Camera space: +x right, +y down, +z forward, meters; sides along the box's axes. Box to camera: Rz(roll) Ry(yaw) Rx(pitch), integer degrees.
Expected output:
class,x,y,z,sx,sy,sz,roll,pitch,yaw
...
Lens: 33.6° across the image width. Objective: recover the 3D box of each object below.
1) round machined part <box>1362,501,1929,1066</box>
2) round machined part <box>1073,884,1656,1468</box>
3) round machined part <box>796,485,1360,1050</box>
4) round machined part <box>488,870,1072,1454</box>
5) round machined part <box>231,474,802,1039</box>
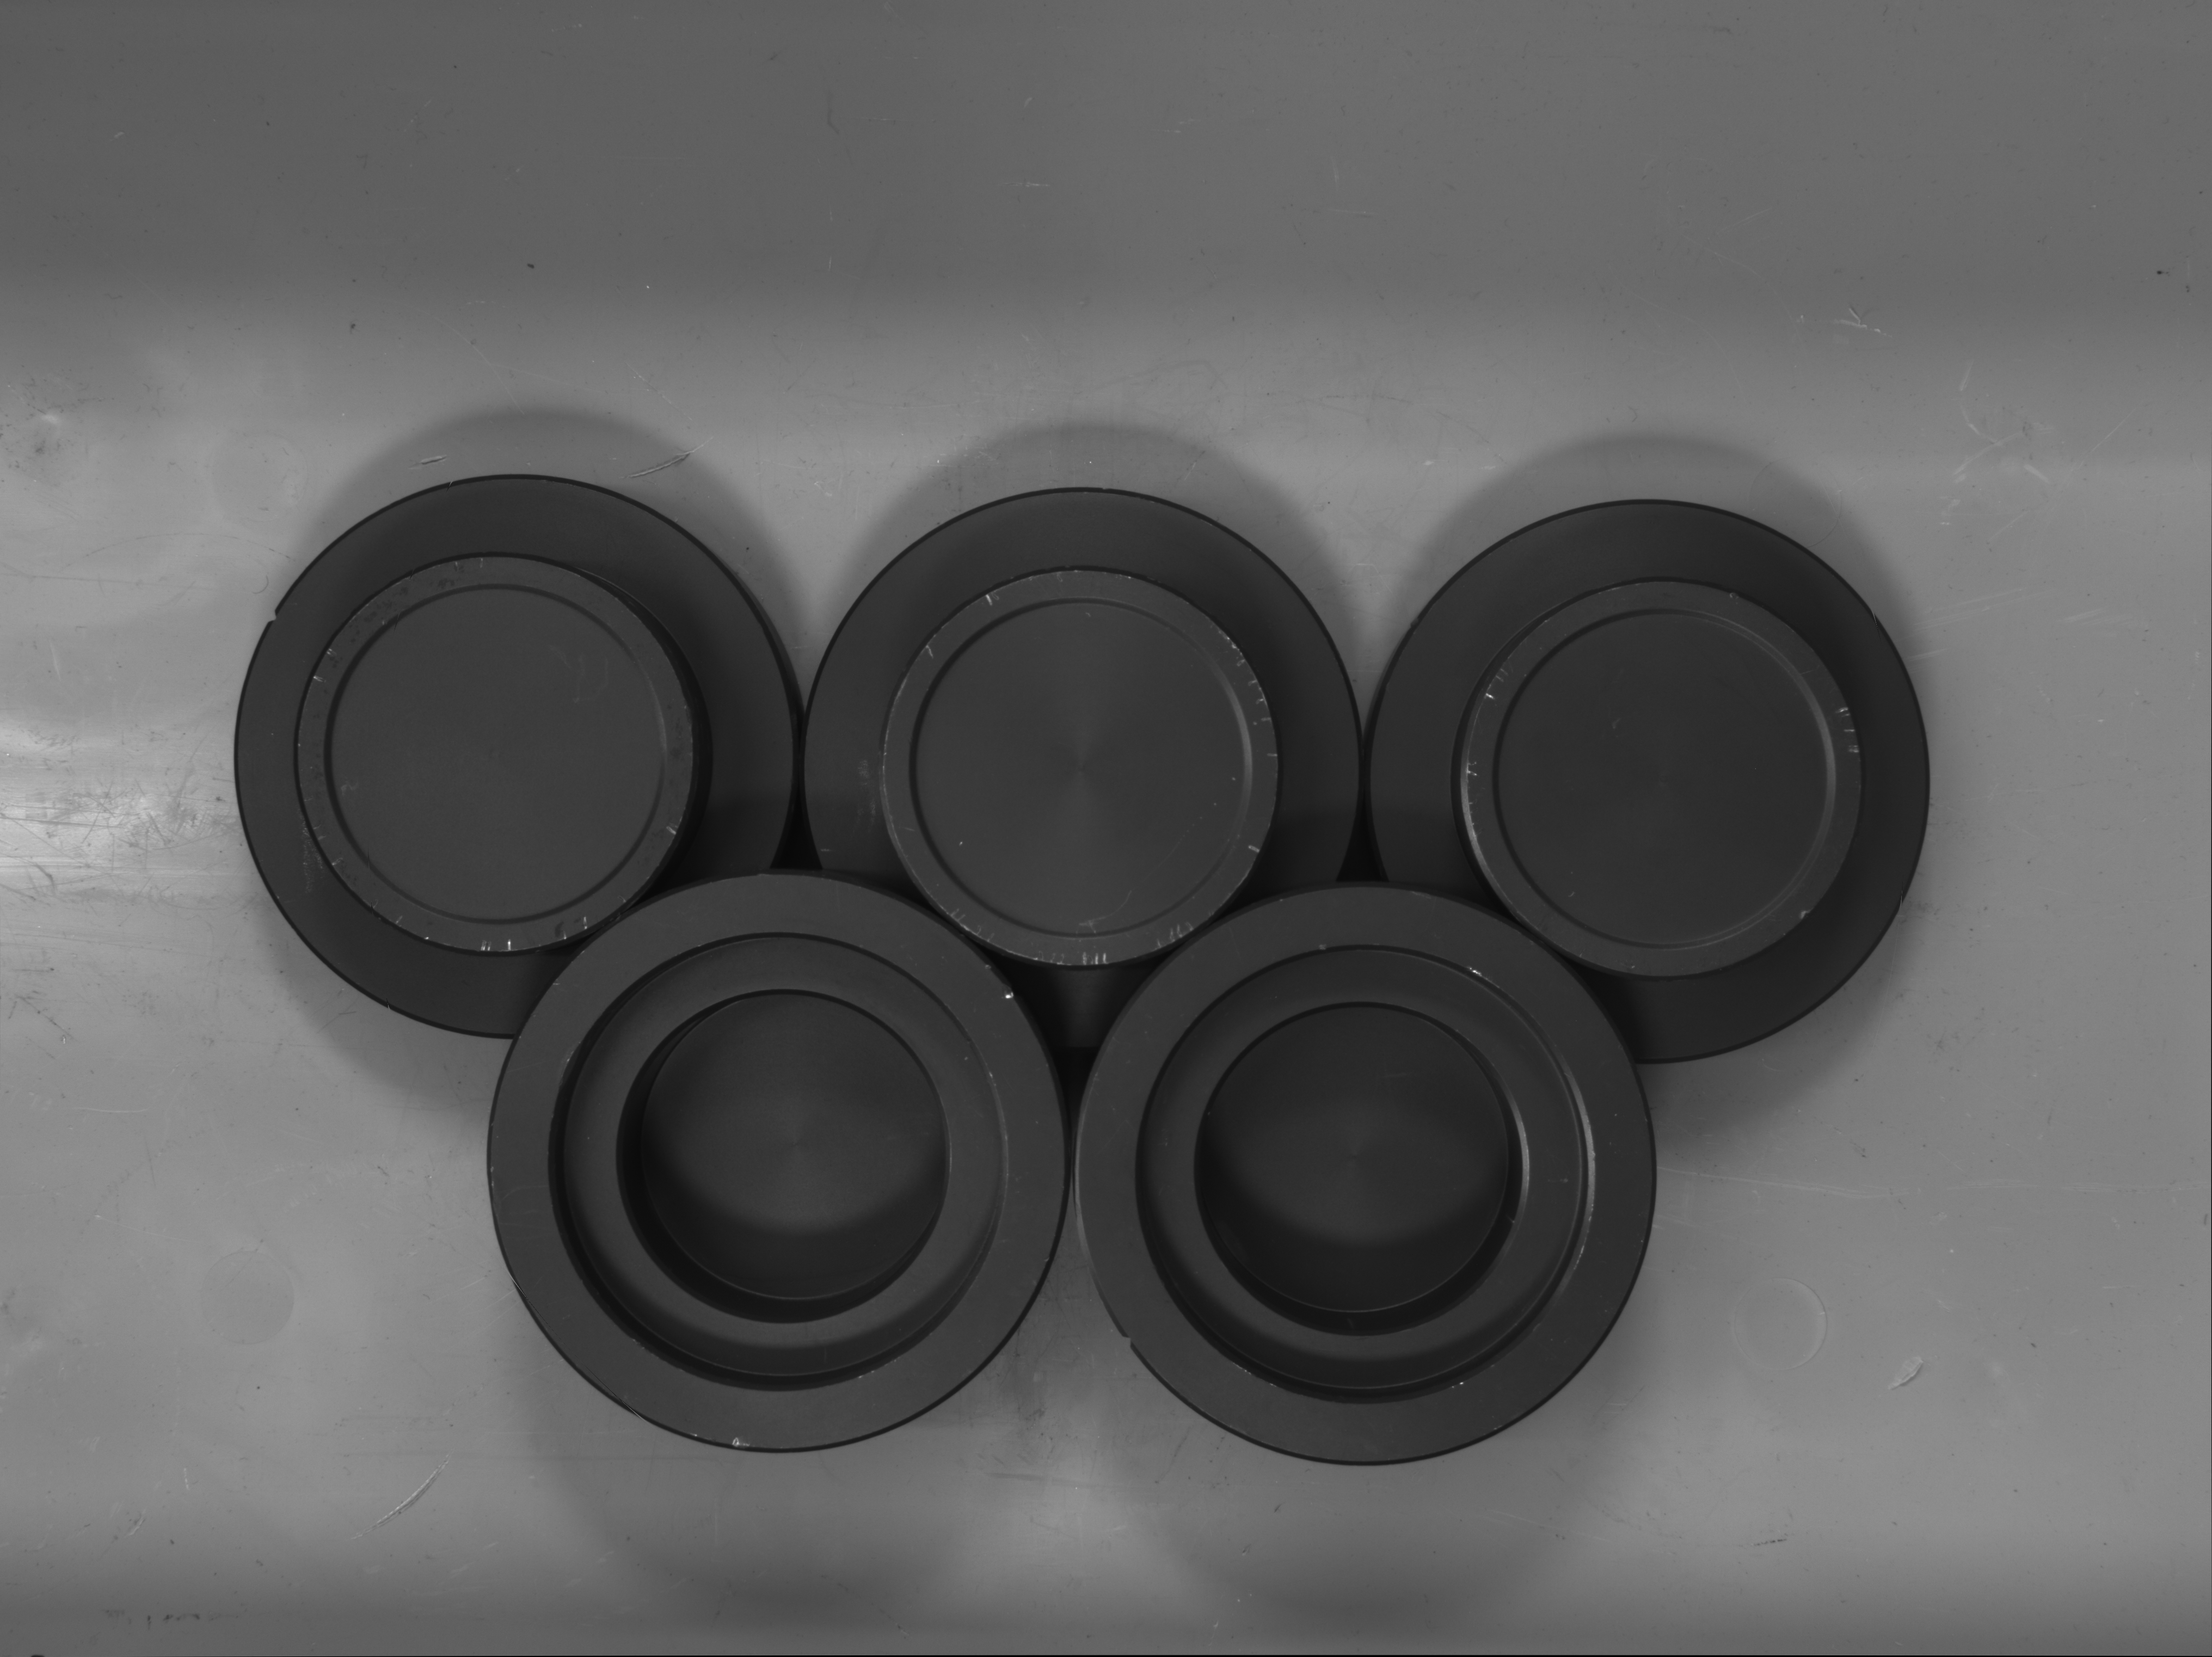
class,x,y,z,sx,sy,sz,roll,pitch,yaw
round machined part,0.094,-0.008,0.635,0.098,0.042,0.098,0,89,1
round machined part,0.043,0.058,0.635,0.098,0.042,0.098,0,90,0
round machined part,-0.005,-0.011,0.635,0.098,0.042,0.098,0,89,1
round machined part,-0.055,0.056,0.635,0.098,0.042,0.098,0,90,0
round machined part,-0.102,-0.012,0.634,0.098,0.042,0.098,0,89,-1
